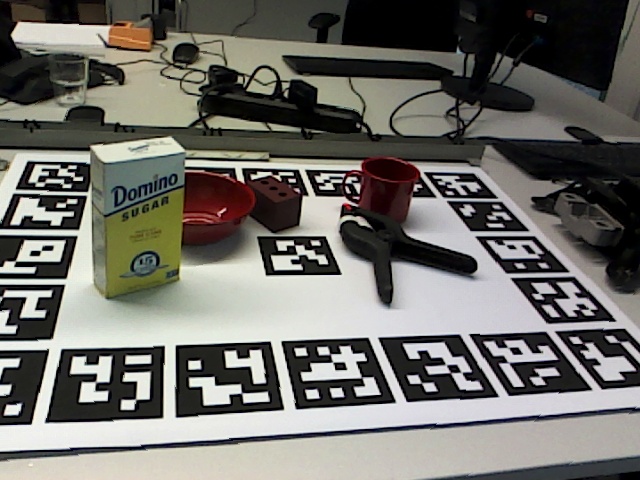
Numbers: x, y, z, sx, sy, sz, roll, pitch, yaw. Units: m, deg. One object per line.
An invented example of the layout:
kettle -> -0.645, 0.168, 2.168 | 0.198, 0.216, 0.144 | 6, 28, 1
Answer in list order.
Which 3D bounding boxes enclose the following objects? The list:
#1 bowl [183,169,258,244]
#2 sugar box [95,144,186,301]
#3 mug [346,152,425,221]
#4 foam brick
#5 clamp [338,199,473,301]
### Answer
bowl -> -0.171, -0.042, 0.876 | 0.161, 0.055, 0.162 | 7, 32, -4
sugar box -> -0.207, -0.019, 0.719 | 0.092, 0.176, 0.045 | -16, 41, -35
mug -> 0.098, -0.085, 0.978 | 0.117, 0.081, 0.093 | 16, 33, 6
foam brick -> -0.064, -0.051, 0.929 | 0.052, 0.051, 0.078 | -19, 42, -35
clamp -> 0.091, 0.000, 0.875 | 0.164, 0.036, 0.204 | -17, 41, -31
